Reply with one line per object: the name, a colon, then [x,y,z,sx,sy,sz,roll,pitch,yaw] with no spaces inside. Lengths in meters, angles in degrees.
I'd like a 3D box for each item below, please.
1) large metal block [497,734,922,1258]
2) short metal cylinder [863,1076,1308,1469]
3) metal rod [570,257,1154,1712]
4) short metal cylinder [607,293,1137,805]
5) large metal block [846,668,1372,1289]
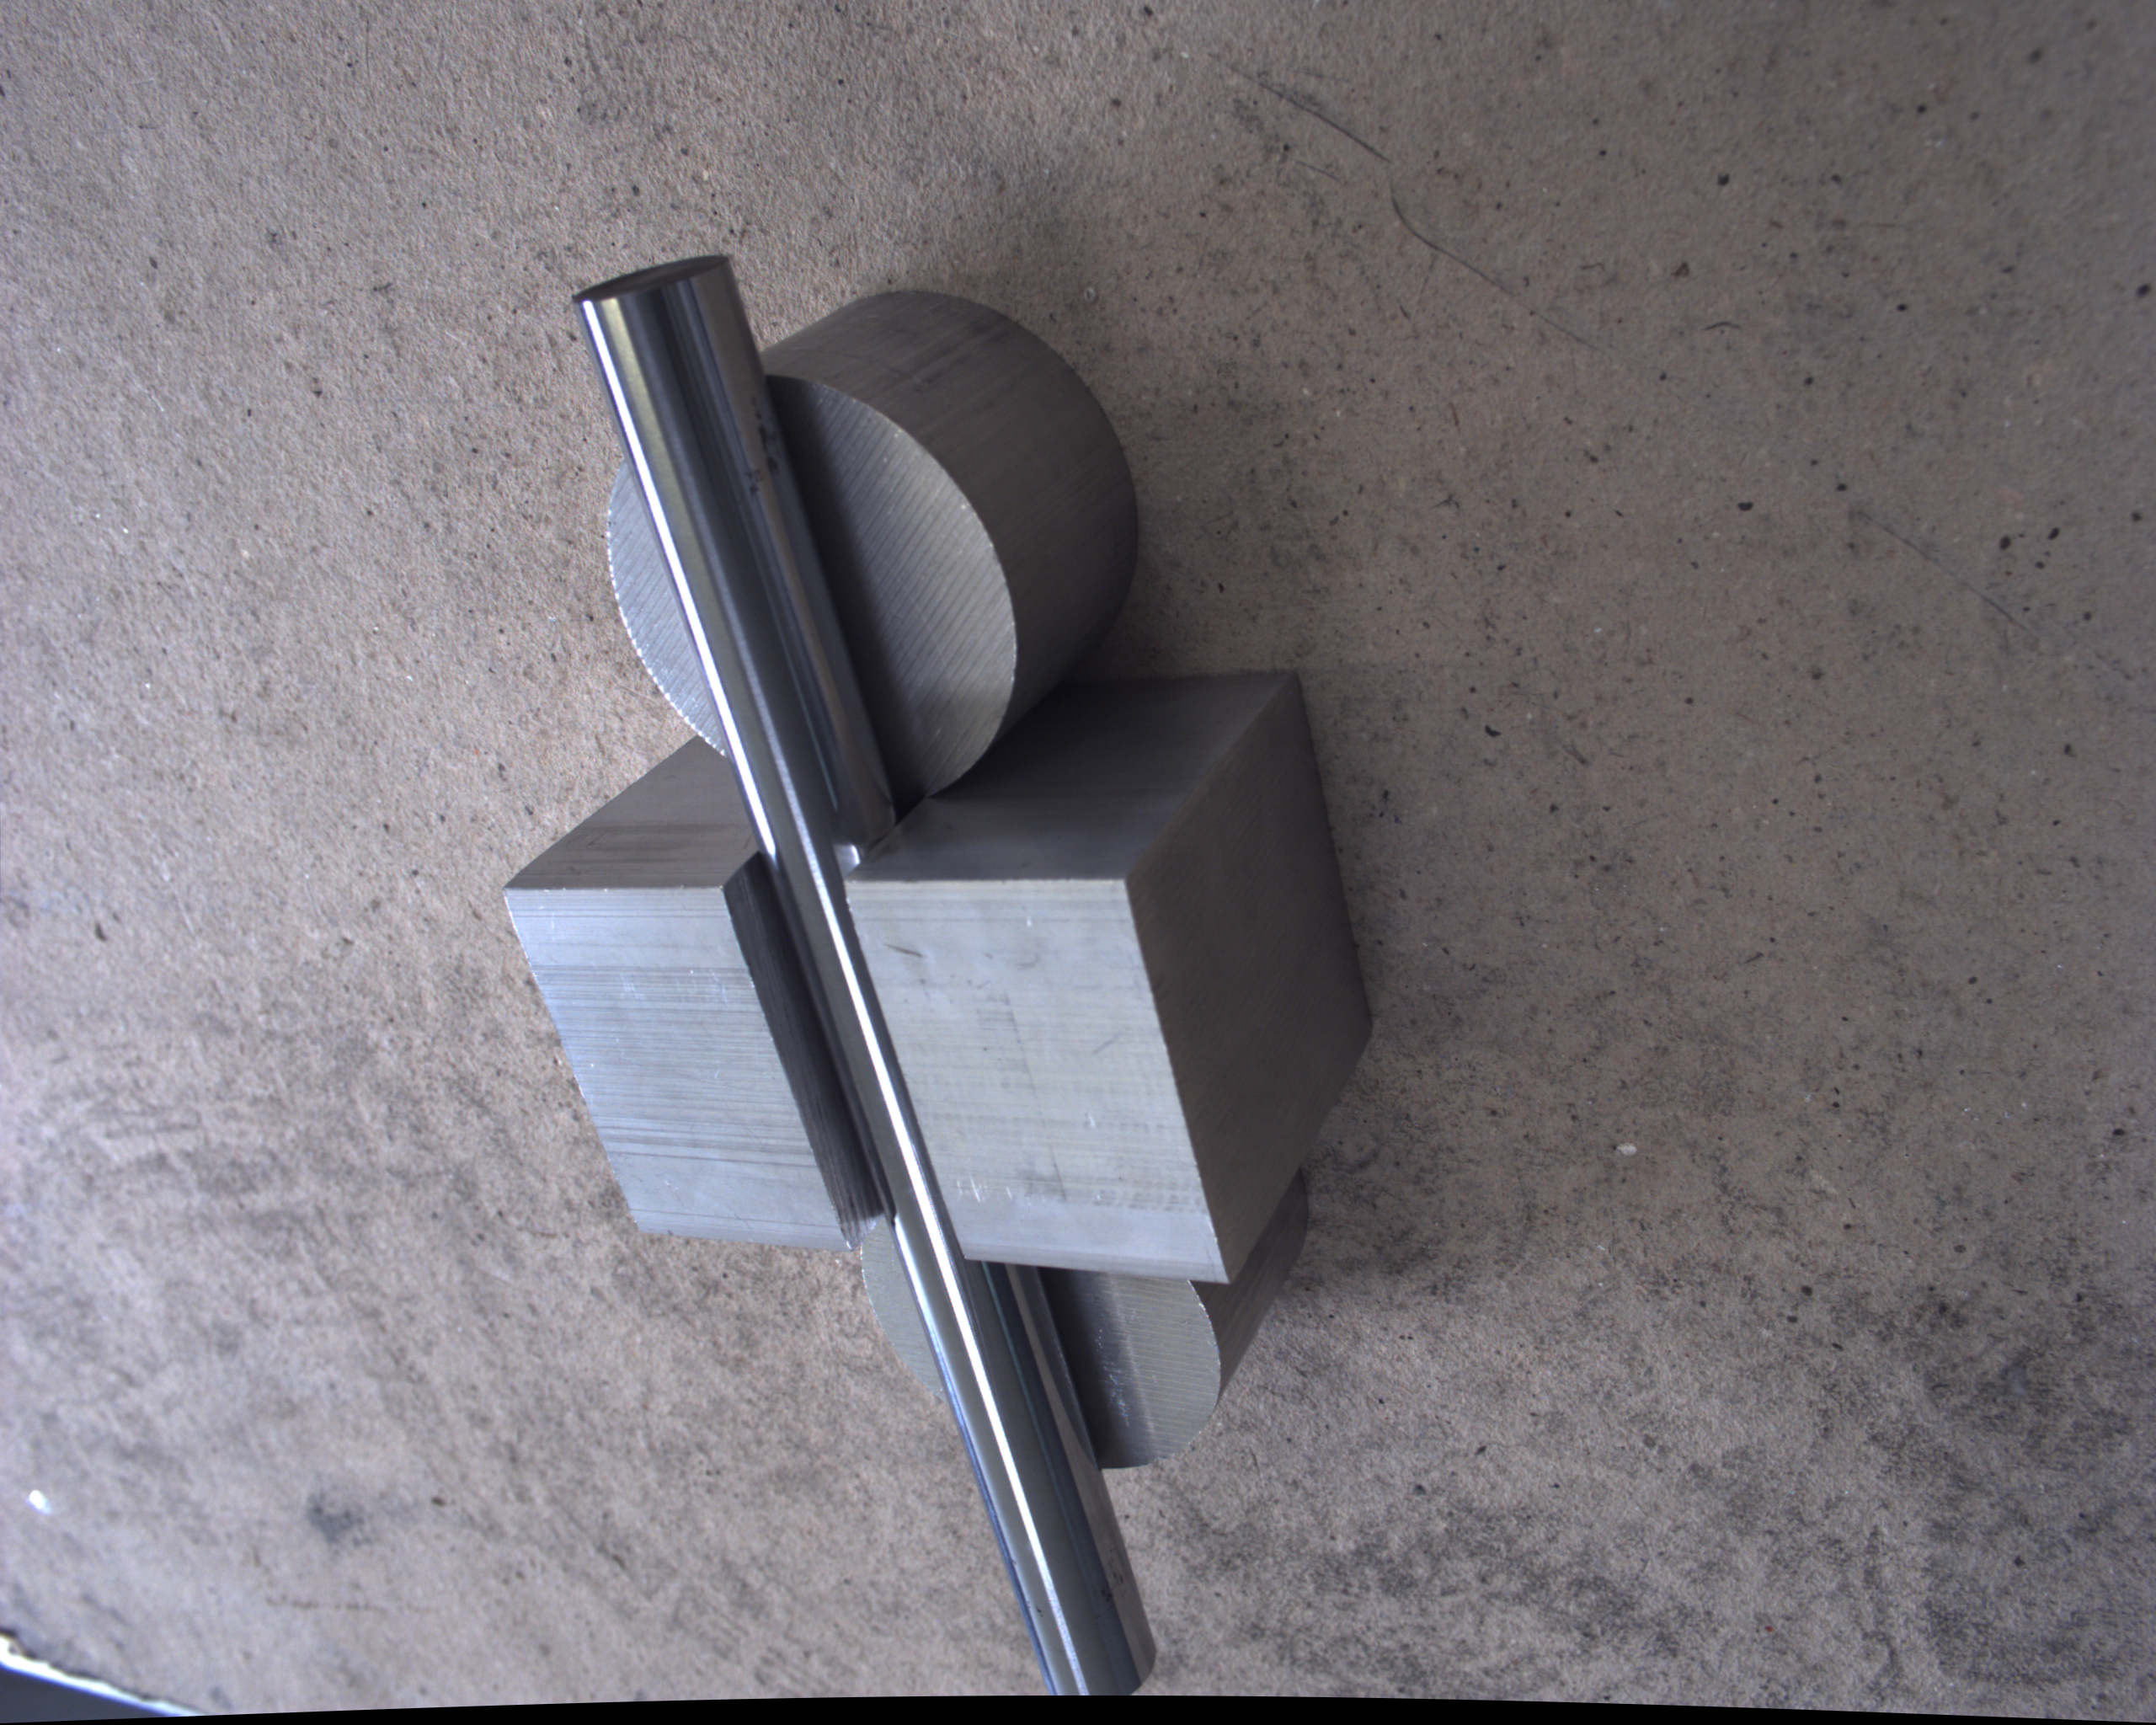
large metal block: [-0.057,0.020,0.415,0.050,0.080,0.080,-1,118,28]
short metal cylinder: [0.002,0.080,0.441,0.080,0.050,0.079,13,123,21]
metal rod: [-0.031,0.041,0.385,0.025,0.025,0.298,-1,118,28]
short metal cylinder: [-0.036,-0.056,0.376,0.080,0.050,0.079,13,123,21]
large metal block: [0.010,0.018,0.379,0.050,0.080,0.080,-1,118,28]
